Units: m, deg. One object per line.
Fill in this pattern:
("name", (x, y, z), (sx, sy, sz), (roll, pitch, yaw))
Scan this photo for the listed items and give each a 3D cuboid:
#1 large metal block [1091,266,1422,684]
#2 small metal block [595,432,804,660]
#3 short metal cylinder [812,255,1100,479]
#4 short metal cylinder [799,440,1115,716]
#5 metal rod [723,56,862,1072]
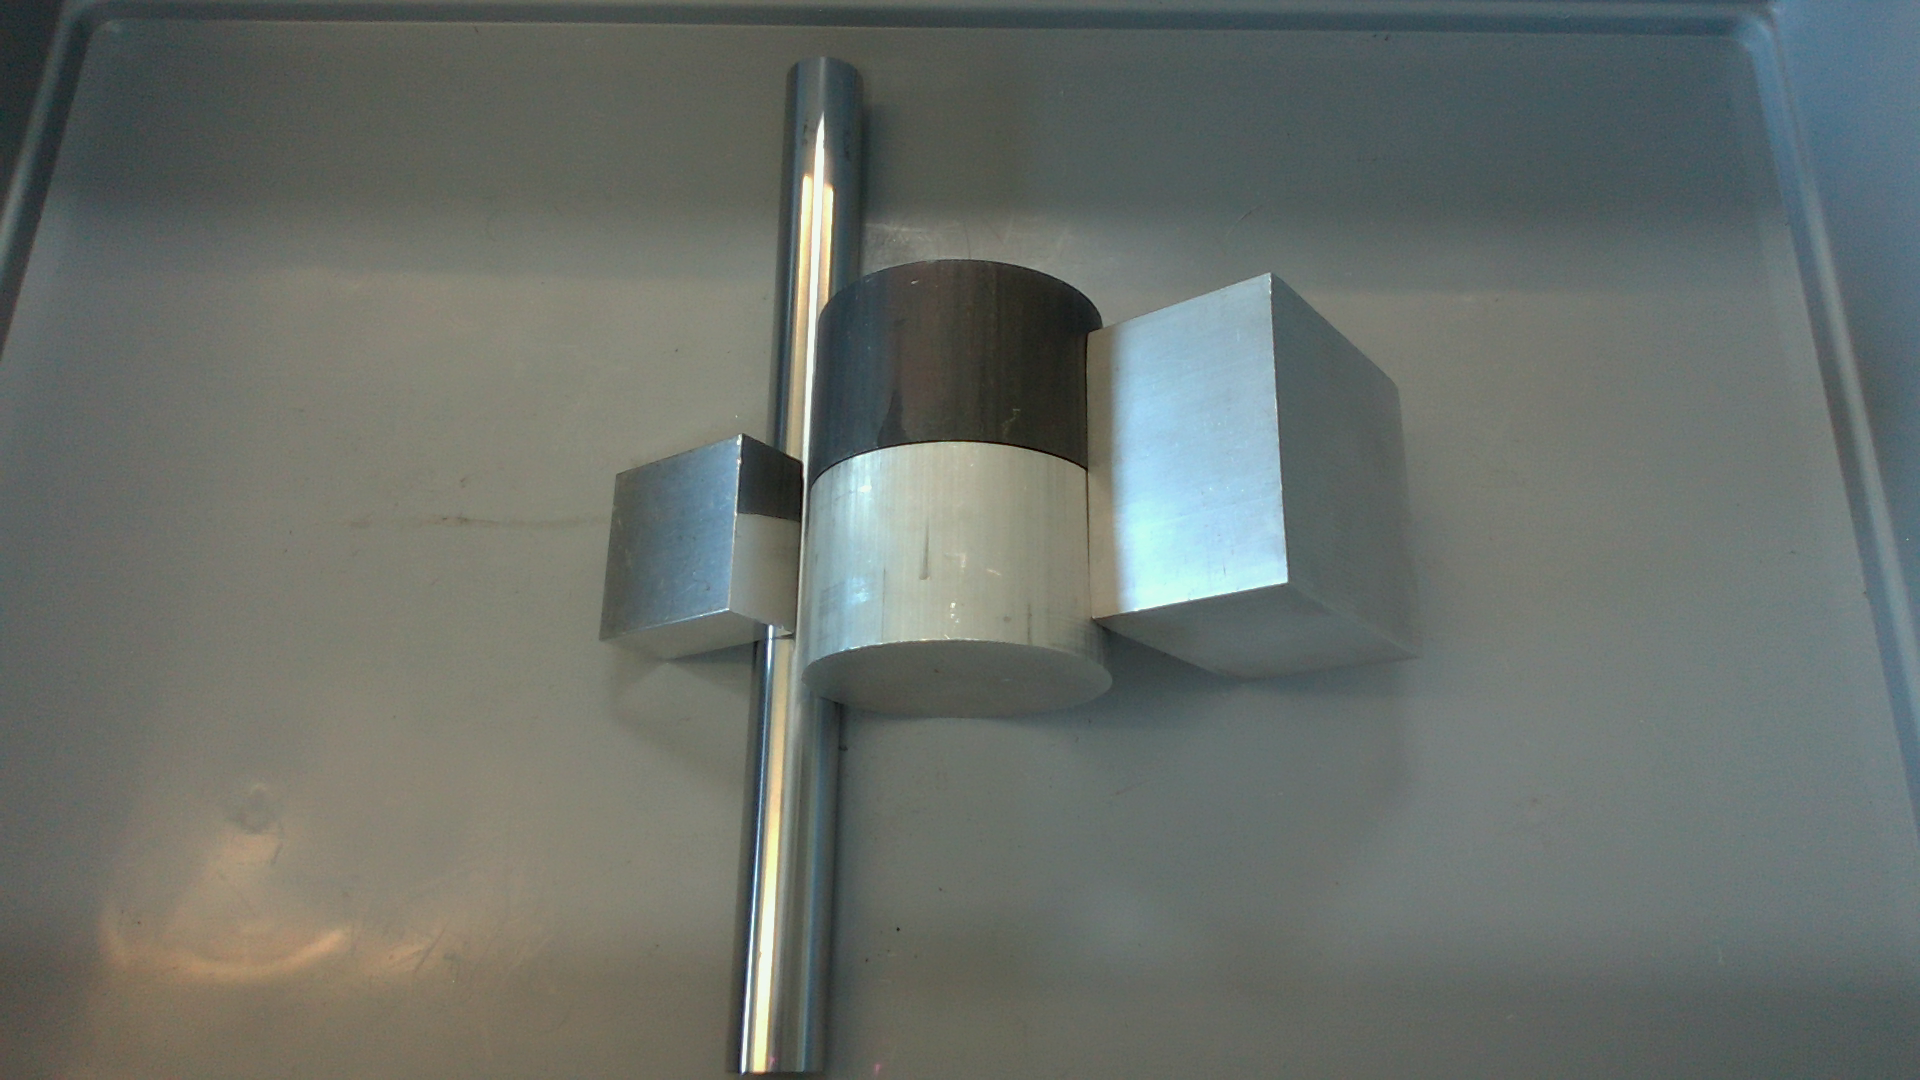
("large metal block", (0.078, -0.012, 0.361), (0.050, 0.080, 0.080), (-14, 66, 36))
("small metal block", (-0.072, 0.003, 0.380), (0.050, 0.025, 0.050), (-14, 65, 32))
("short metal cylinder", (0.000, -0.035, 0.376), (0.080, 0.080, 0.050), (0, 70, 0))
("short metal cylinder", (0.000, 0.013, 0.359), (0.080, 0.080, 0.050), (0, 70, 0))
("metal rod", (-0.045, -0.008, 0.395), (0.025, 0.025, 0.300), (0, 70, 0))
